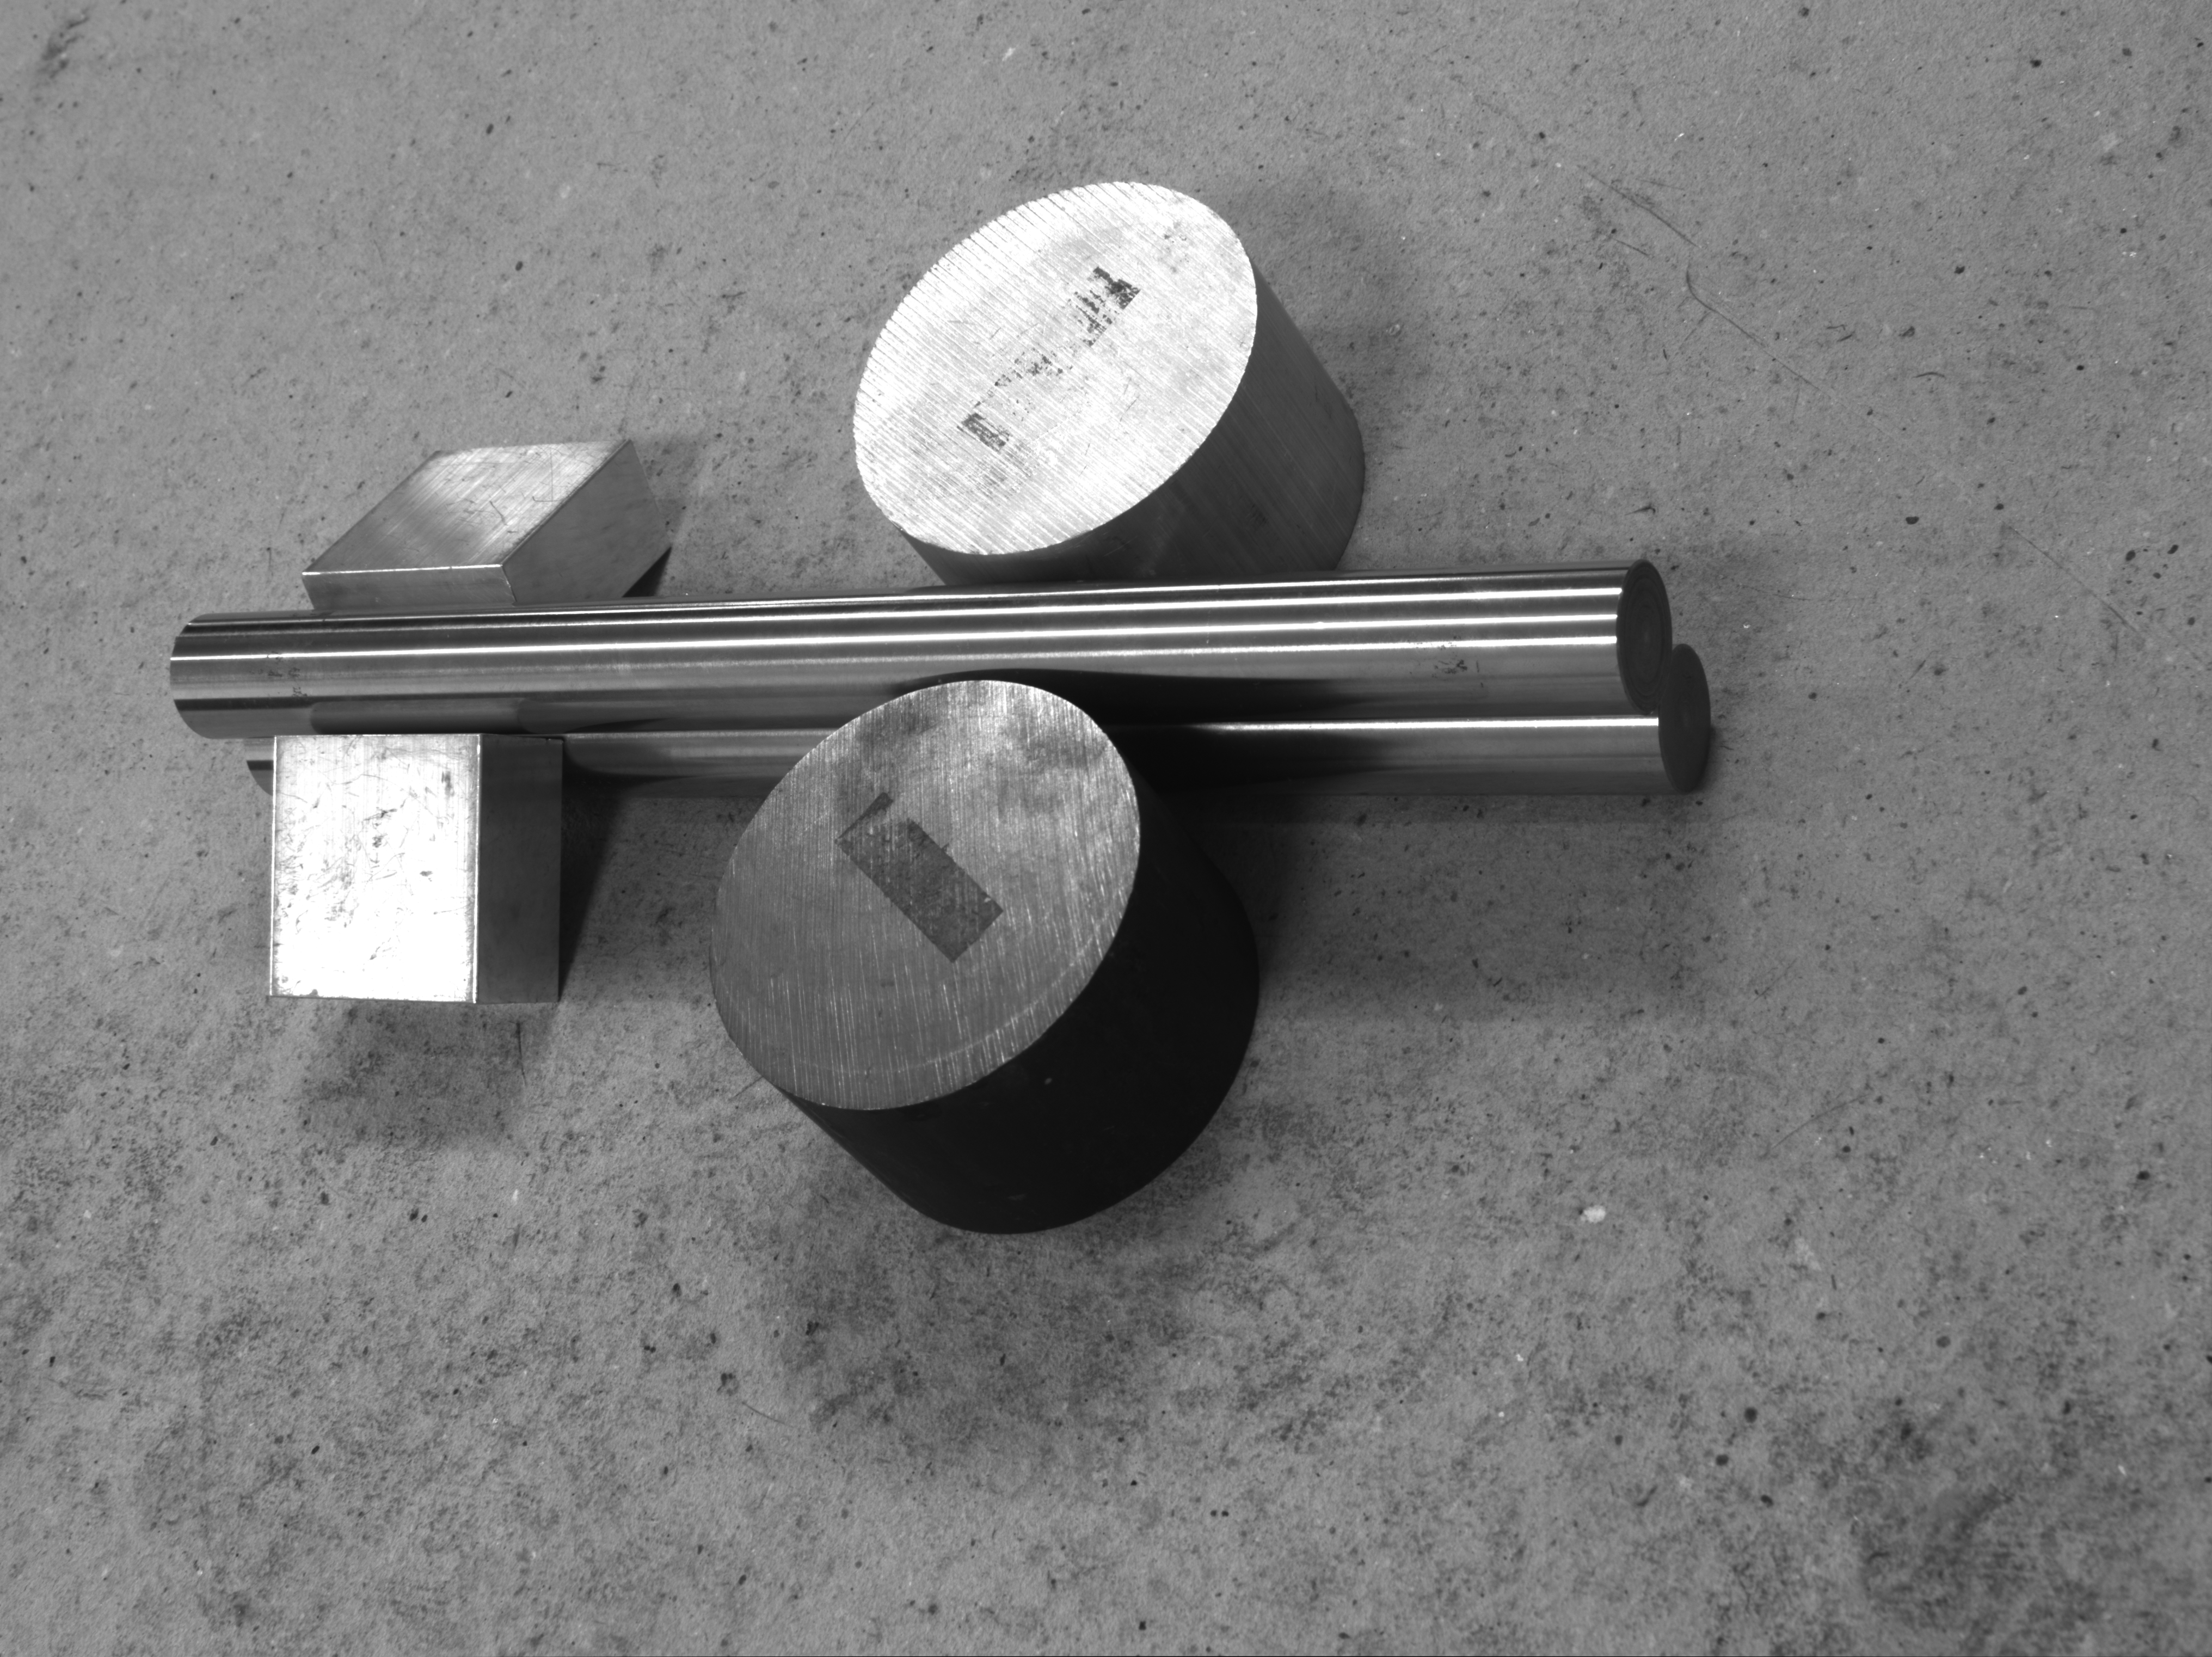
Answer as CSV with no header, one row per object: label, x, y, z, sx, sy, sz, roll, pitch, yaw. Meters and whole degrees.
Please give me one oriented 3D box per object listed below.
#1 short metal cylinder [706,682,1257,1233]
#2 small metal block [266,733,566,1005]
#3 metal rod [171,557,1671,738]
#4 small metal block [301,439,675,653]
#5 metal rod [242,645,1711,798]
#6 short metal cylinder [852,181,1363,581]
short metal cylinder,-0.021,0.022,0.627,0.080,0.050,0.080,-14,56,21
small metal block,-0.131,0.008,0.700,0.050,0.025,0.050,1,88,28
metal rod,-0.046,-0.031,0.657,0.299,0.025,0.025,0,62,29
small metal block,-0.123,-0.053,0.733,0.050,0.025,0.050,0,34,29
metal rod,-0.036,-0.018,0.677,0.299,0.025,0.025,0,62,29
short metal cylinder,0.001,-0.071,0.673,0.080,0.050,0.080,-14,56,21
